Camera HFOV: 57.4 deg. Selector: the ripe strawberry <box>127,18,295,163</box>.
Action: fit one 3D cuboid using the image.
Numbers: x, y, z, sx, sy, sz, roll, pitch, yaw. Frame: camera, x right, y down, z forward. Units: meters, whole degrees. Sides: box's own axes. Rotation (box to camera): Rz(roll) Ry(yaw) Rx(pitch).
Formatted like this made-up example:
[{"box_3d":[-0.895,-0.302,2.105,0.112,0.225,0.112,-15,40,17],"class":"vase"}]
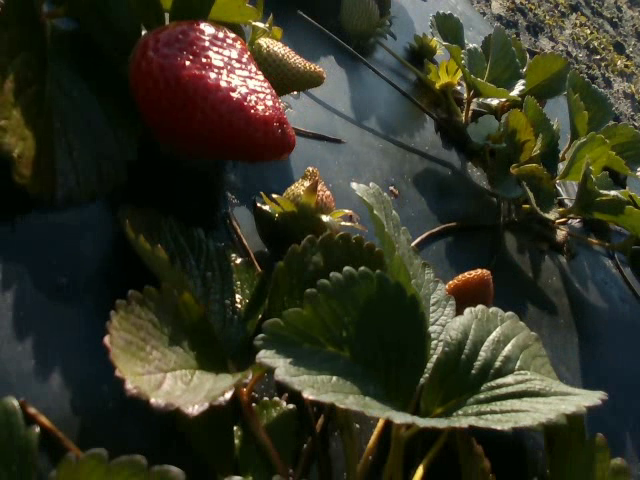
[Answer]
[{"box_3d":[-0.032,-0.046,0.190,0.072,0.057,0.055,37,-10,25],"class":"ripe strawberry"}]
